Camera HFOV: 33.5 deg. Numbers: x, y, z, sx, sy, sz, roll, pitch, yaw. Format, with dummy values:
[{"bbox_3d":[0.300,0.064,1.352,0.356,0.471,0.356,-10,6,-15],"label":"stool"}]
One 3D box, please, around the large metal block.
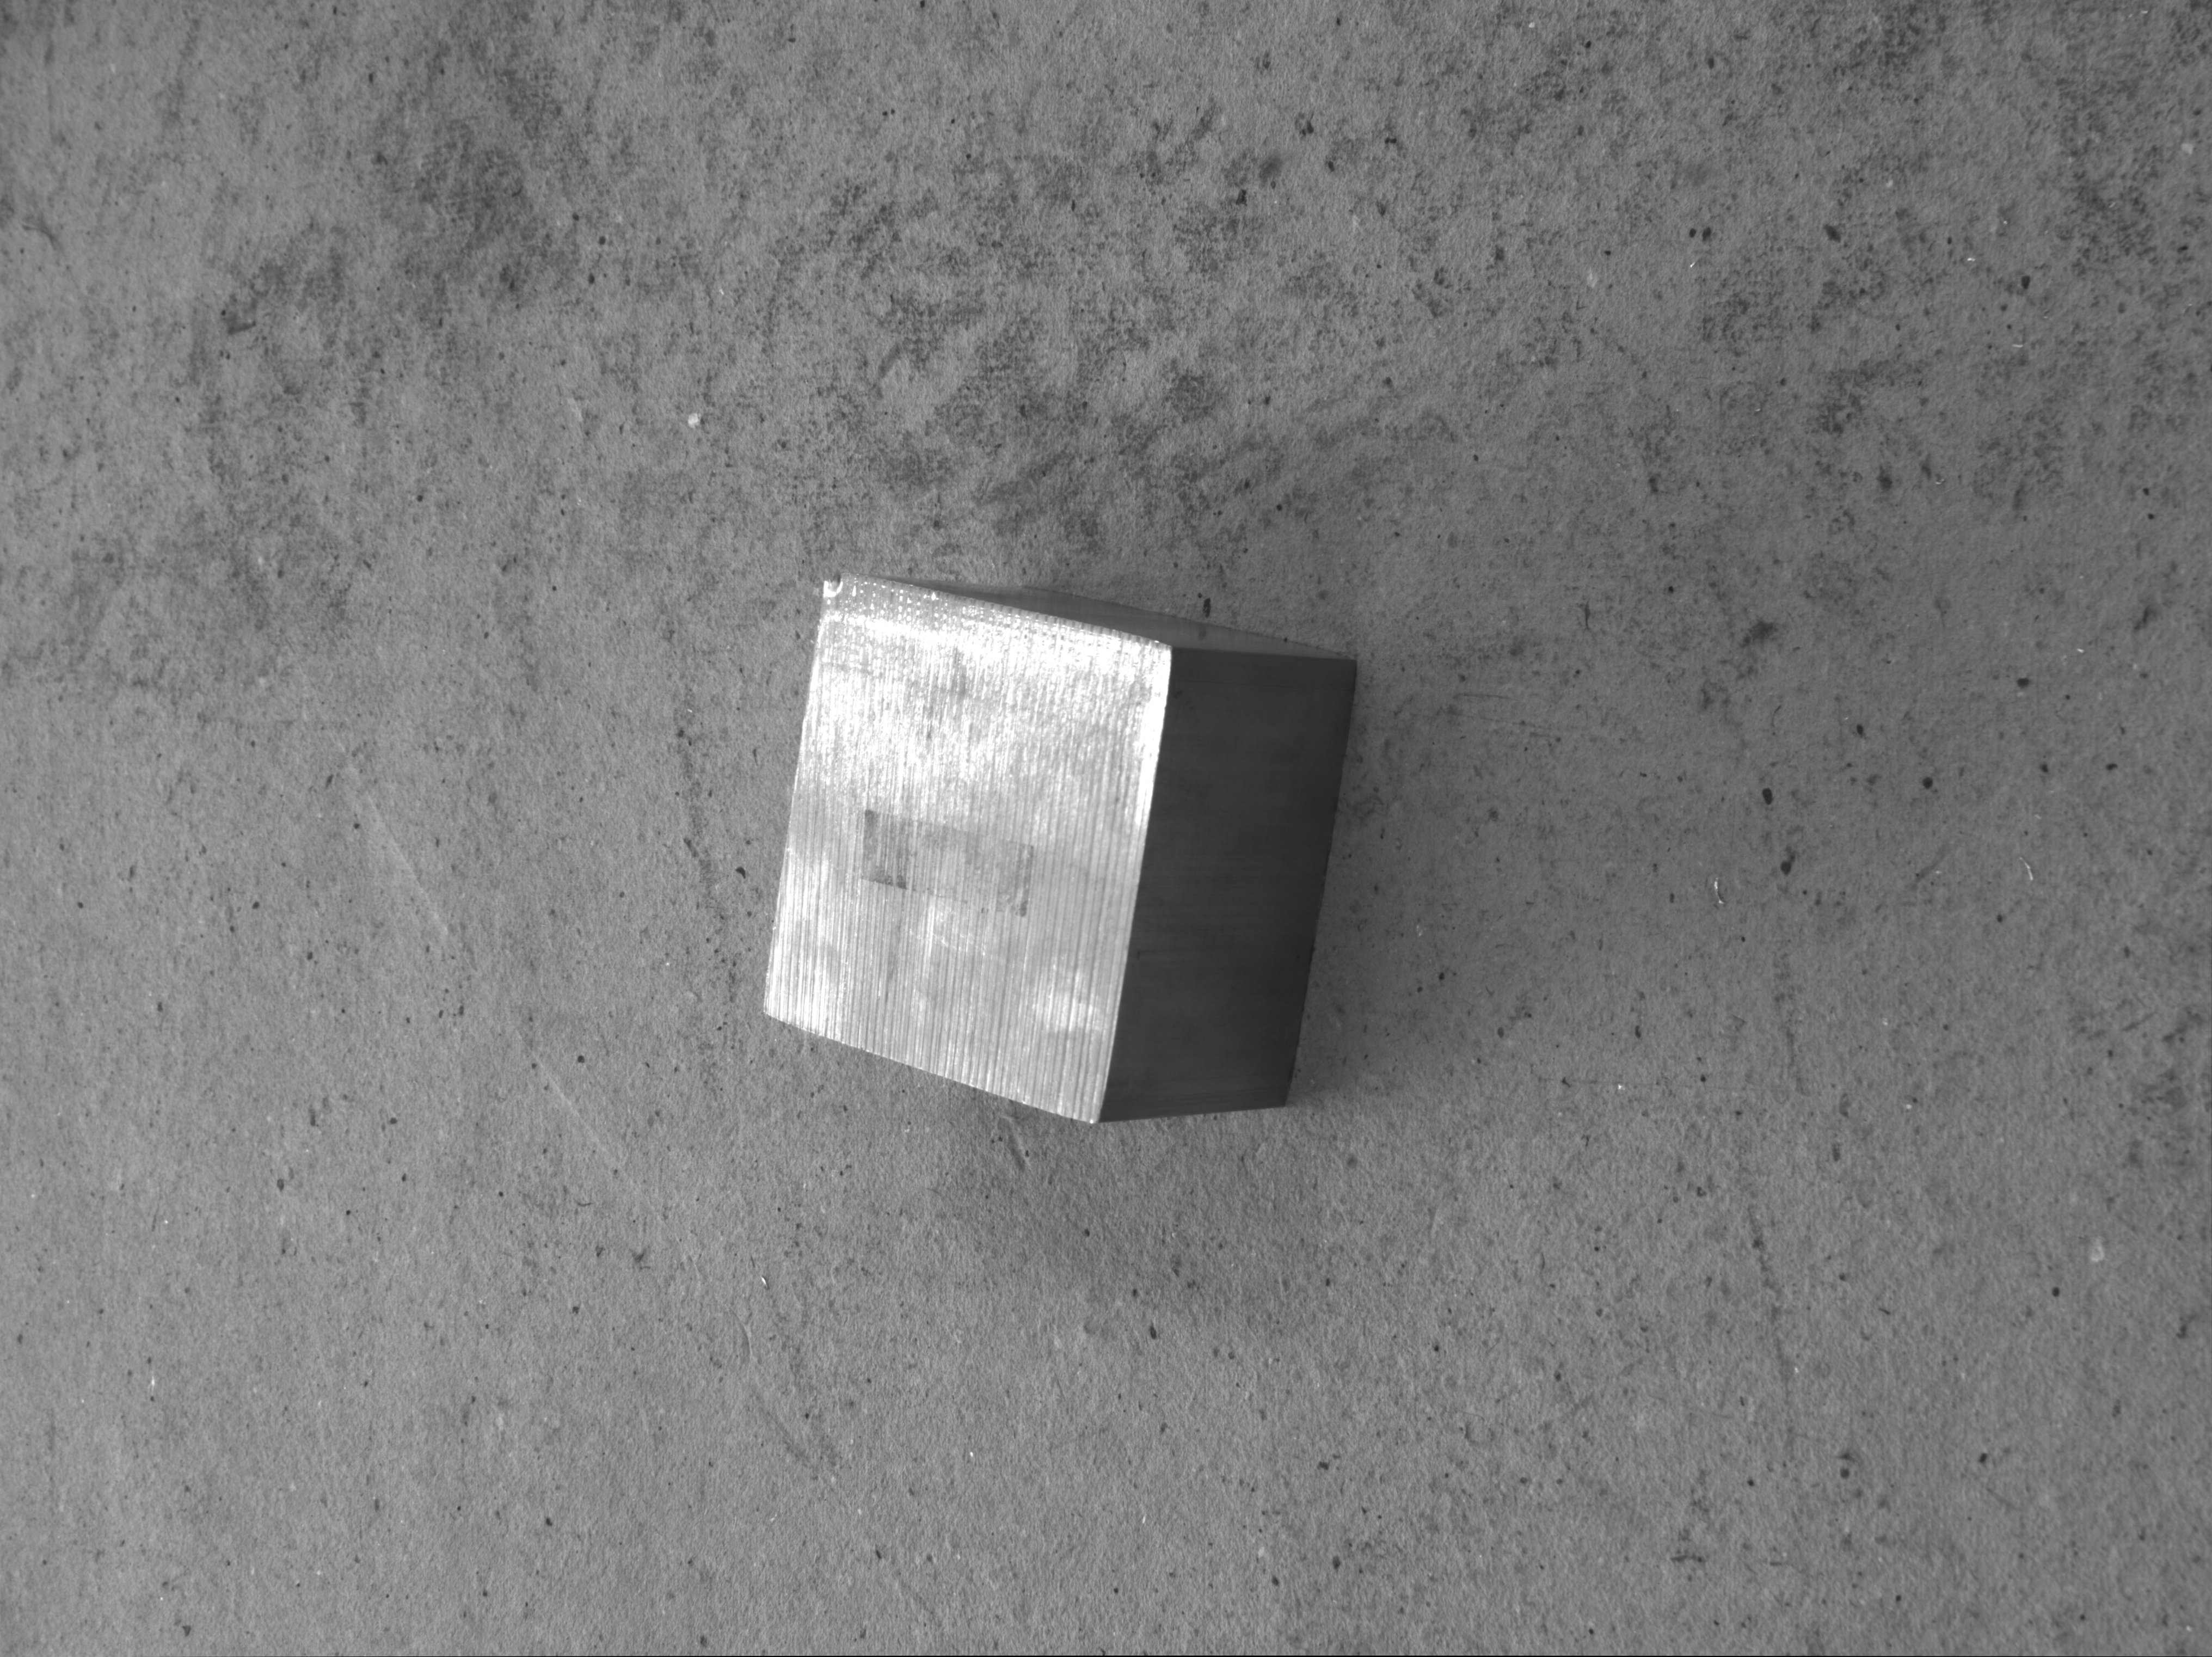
[{"bbox_3d":[-0.009,0.002,0.637,0.080,0.050,0.080,14,99,38],"label":"large metal block"}]
